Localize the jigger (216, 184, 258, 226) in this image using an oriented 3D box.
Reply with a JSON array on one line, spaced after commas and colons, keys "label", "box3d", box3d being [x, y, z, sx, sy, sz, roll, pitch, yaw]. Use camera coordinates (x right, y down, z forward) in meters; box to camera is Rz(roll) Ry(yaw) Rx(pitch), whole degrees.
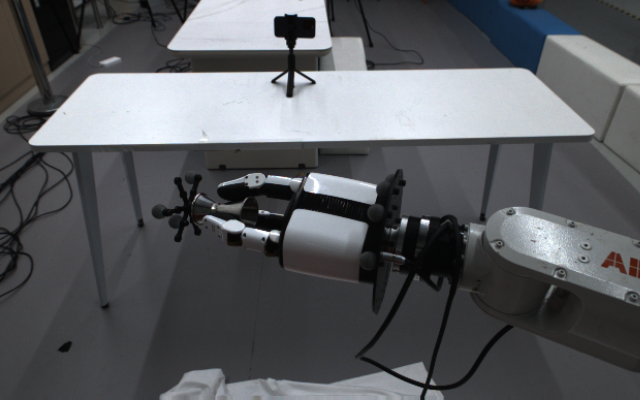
[{"label": "jigger", "box3d": [-0.105, 0.008, 0.576, 0.071, 0.043, 0.043, 5, 34, 20]}]
